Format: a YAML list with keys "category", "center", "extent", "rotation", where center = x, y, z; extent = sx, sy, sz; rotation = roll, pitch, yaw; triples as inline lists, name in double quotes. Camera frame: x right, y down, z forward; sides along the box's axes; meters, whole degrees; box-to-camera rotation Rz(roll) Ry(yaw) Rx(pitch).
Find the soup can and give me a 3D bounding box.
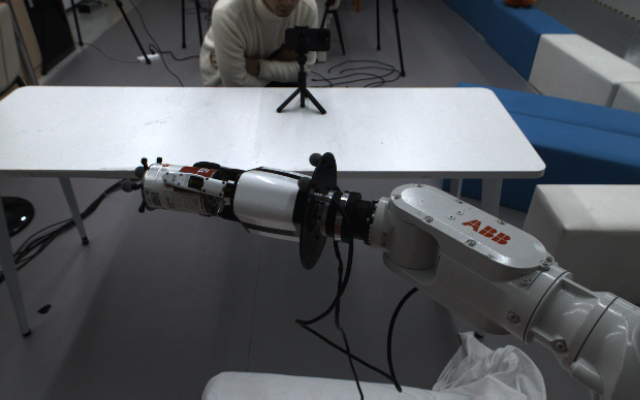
- category: "soup can"
  center: [-0.191, -0.015, 0.692]
  extent: [0.101, 0.067, 0.067]
  rotation: [6, 35, 11]
